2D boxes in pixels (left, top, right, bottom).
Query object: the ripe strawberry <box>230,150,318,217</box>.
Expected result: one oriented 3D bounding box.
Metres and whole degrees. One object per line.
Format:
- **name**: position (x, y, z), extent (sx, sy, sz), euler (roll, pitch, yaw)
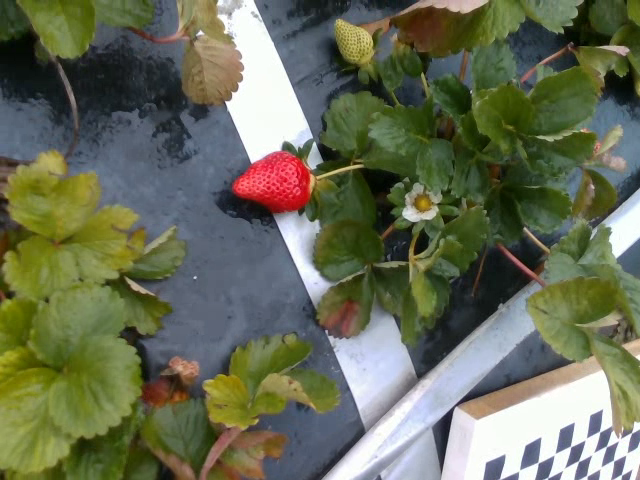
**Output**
- **ripe strawberry**: position (-0.029, -0.033, 0.343), extent (0.051, 0.042, 0.038), euler (-11, 27, -34)
